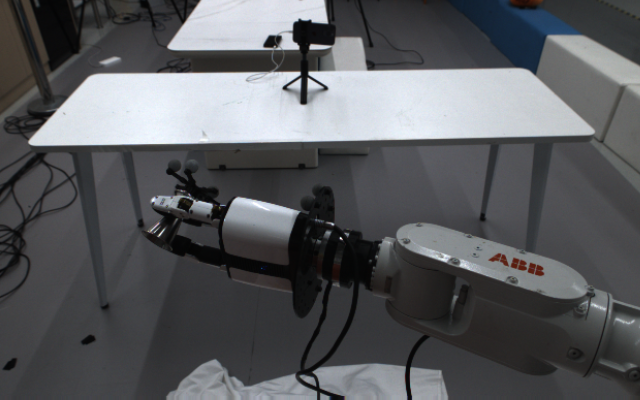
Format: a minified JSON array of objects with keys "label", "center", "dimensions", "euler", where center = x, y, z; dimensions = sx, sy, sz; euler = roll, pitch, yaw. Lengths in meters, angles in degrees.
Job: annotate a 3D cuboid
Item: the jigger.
[{"label":"jigger","center":[-0.188,0.023,0.613],"dimensions":[0.043,0.043,0.071],"euler":[19,62,23]}]
